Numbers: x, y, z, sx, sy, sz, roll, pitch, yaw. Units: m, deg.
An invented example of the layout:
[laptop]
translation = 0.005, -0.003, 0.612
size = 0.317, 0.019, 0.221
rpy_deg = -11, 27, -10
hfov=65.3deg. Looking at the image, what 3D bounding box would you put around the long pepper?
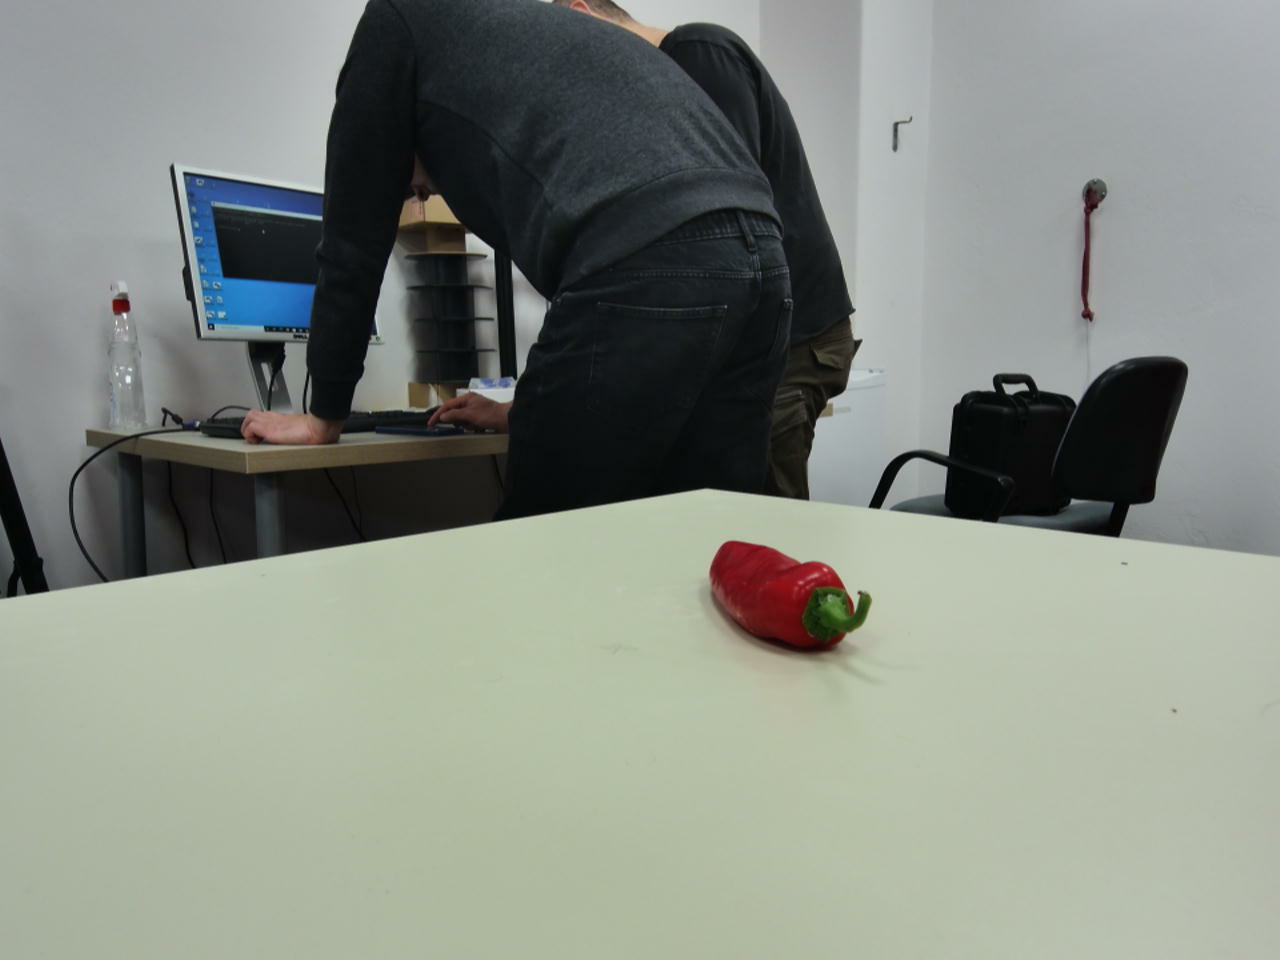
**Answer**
[long pepper]
translation = 0.071, 0.058, 0.550
size = 0.050, 0.043, 0.211
rpy_deg = 0, 6, -10
